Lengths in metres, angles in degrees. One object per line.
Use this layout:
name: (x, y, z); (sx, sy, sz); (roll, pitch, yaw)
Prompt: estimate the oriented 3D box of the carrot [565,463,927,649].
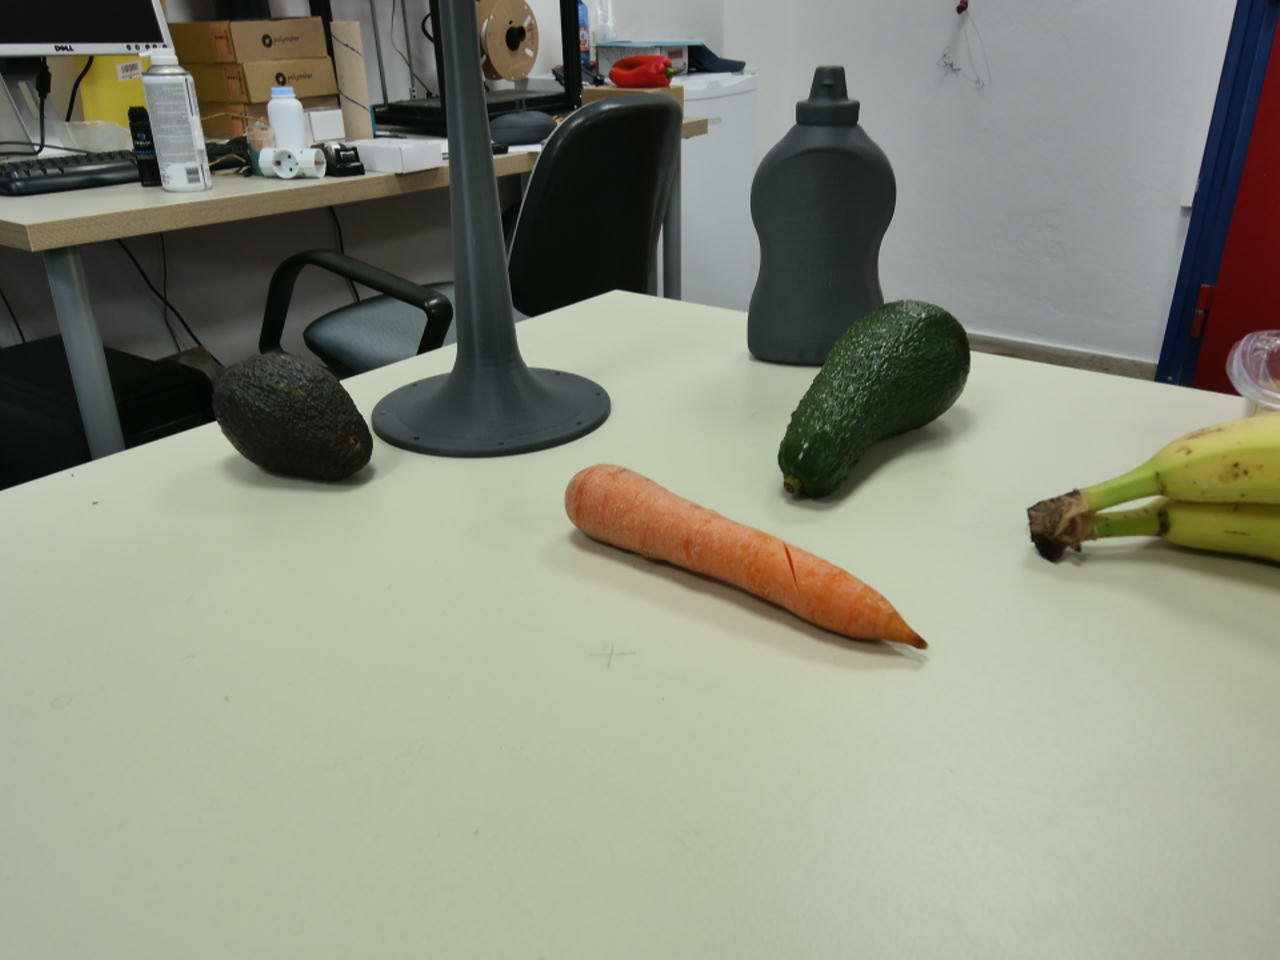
carrot: (0.044, 0.031, 0.466); (0.196, 0.041, 0.039); (18, 28, 35)
